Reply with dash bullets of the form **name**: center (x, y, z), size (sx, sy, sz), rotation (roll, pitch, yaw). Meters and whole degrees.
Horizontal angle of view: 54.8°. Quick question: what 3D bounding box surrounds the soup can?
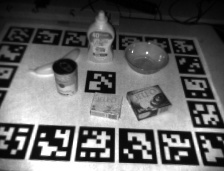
- **soup can**: center (-0.152, -0.044, 0.674), size (0.068, 0.102, 0.067), rotation (4, 47, -4)

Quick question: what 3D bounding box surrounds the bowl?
- **bowl**: center (0.124, -0.107, 0.806), size (0.162, 0.055, 0.161), rotation (3, 49, -2)

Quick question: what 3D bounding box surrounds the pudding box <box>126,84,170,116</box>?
- **pudding box**: center (0.112, 0.038, 0.687), size (0.115, 0.039, 0.089), rotation (-15, 58, -18)

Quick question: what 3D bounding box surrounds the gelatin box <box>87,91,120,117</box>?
- **gelatin box**: center (-0.025, 0.054, 0.663), size (0.089, 0.030, 0.073), rotation (9, 52, 2)

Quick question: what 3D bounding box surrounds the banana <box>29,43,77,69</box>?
- **banana**: center (-0.193, -0.105, 0.775), size (0.073, 0.039, 0.199), rotation (31, 52, 32)

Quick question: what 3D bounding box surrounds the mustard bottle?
- **mustard bottle**: center (-0.040, -0.184, 0.744), size (0.096, 0.192, 0.058), rotation (3, 46, -3)
